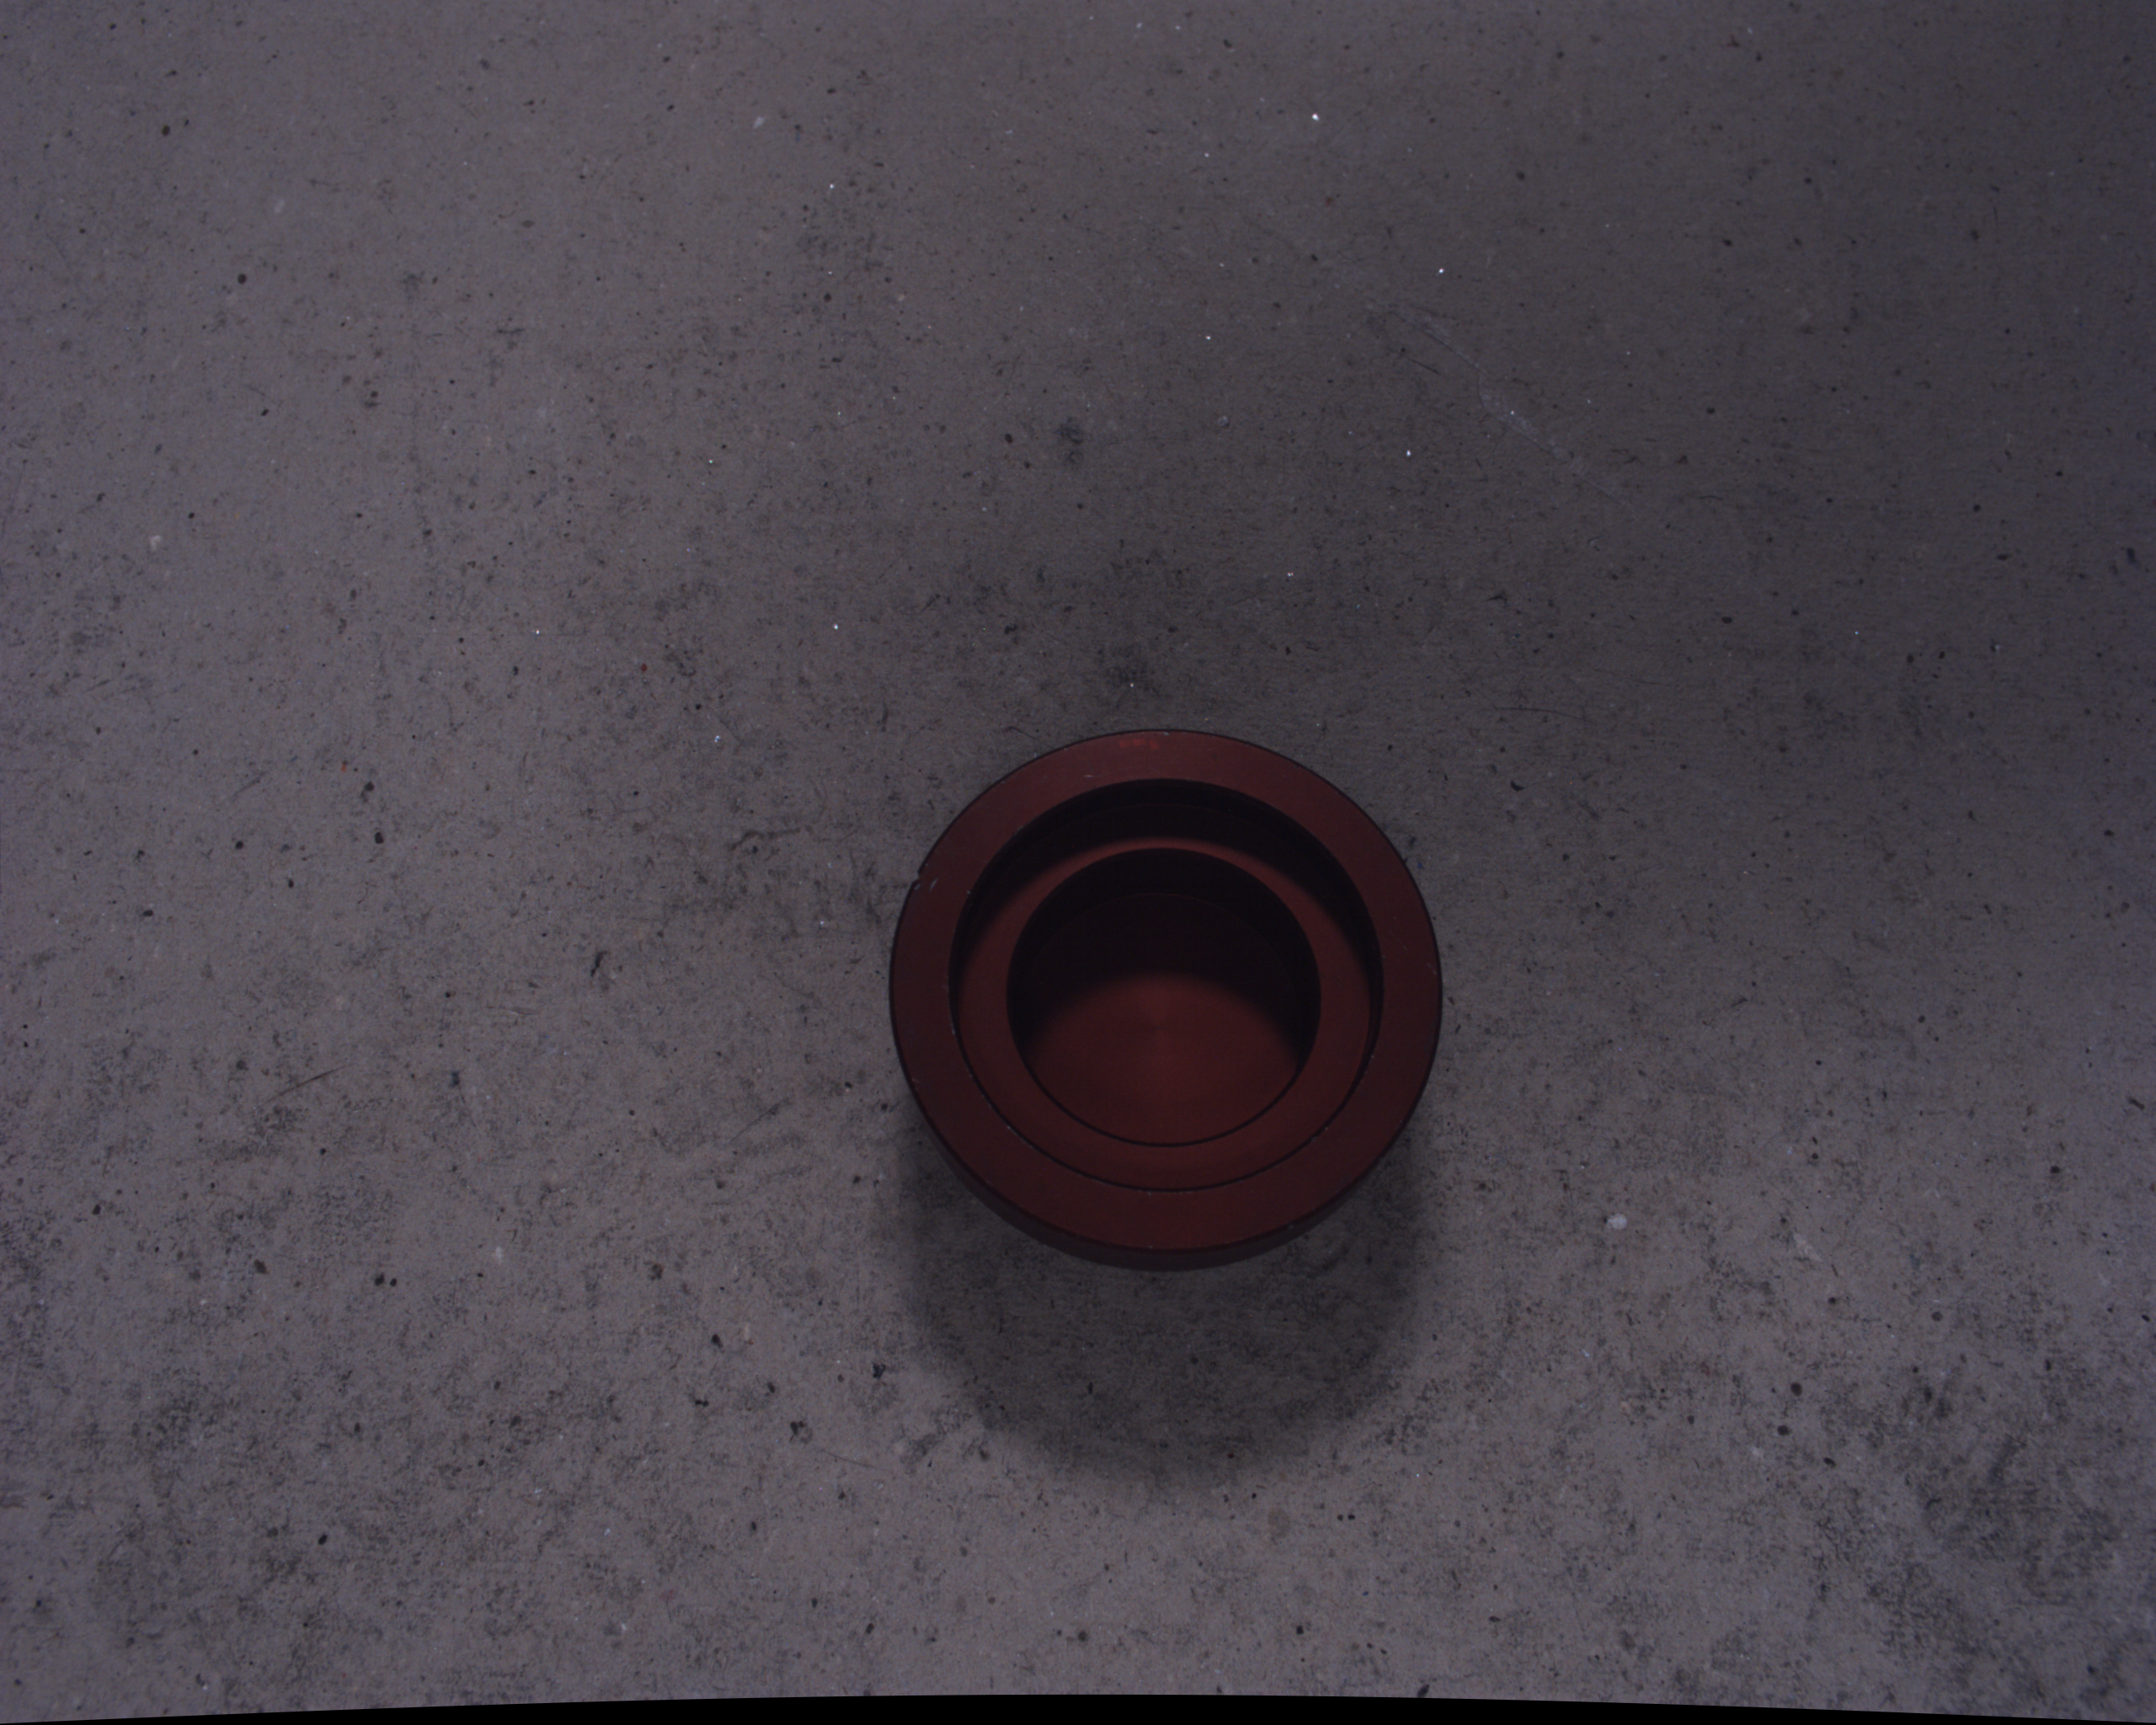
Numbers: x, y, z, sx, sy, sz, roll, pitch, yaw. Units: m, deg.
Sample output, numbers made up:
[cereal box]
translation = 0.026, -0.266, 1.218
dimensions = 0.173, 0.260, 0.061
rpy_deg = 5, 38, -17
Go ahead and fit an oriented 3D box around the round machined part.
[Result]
[round machined part]
translation = 0.015, 0.027, 0.390
dimensions = 0.099, 0.042, 0.098
rpy_deg = 0, 70, -1
